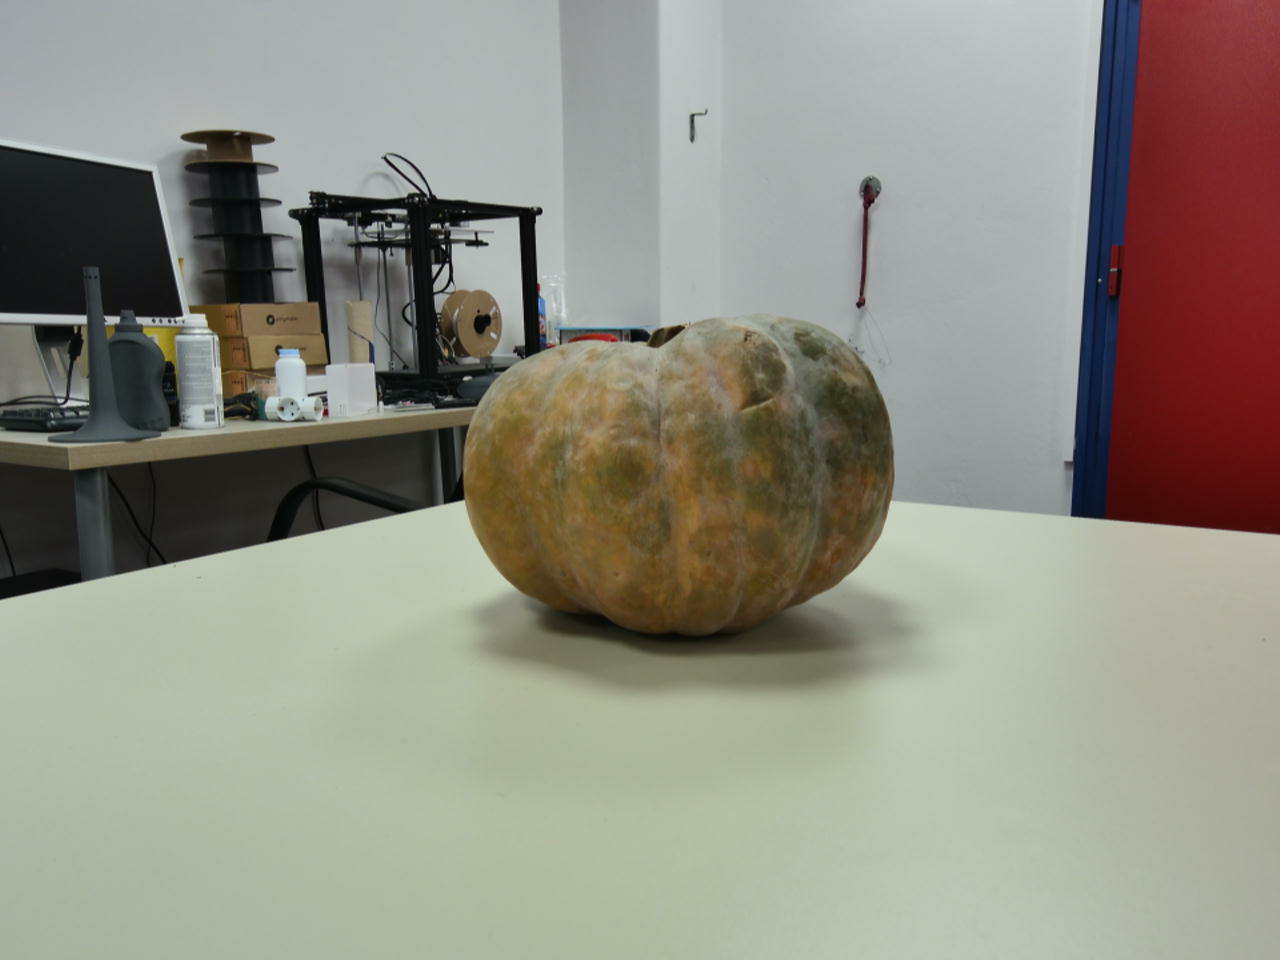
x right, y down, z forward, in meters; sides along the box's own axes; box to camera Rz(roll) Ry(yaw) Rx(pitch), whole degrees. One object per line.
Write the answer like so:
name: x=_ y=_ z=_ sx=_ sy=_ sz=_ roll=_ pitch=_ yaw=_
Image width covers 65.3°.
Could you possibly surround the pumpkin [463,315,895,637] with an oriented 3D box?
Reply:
pumpkin: x=0.019 y=-0.007 z=0.571 sx=0.252 sy=0.168 sz=0.252 roll=0 pitch=7 yaw=0
